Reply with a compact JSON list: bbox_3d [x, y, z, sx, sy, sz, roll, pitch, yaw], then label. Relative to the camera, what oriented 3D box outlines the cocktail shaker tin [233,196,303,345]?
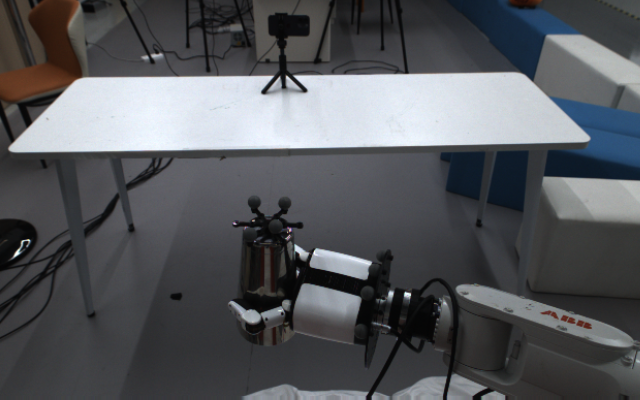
[{"bbox_3d":[-0.069,0.108,0.667,0.093,0.170,0.093,3,34,-2],"label":"cocktail shaker tin"}]
